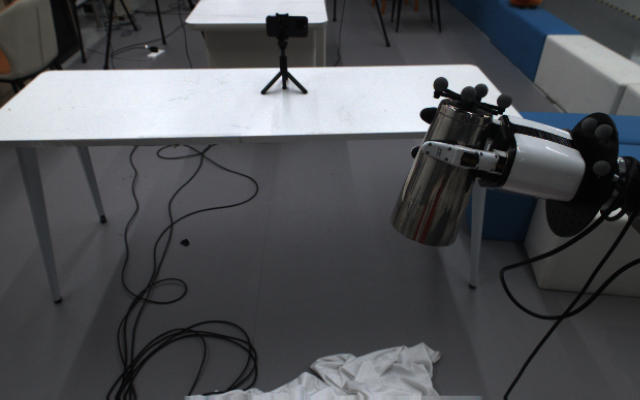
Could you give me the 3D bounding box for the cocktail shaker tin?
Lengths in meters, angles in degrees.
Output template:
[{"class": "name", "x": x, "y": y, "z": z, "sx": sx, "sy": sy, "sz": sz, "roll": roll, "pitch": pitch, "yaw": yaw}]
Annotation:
[{"class": "cocktail shaker tin", "x": 0.162, "y": -0.040, "z": 0.623, "sx": 0.093, "sy": 0.170, "sz": 0.093, "roll": 12, "pitch": 25, "yaw": -6}]
